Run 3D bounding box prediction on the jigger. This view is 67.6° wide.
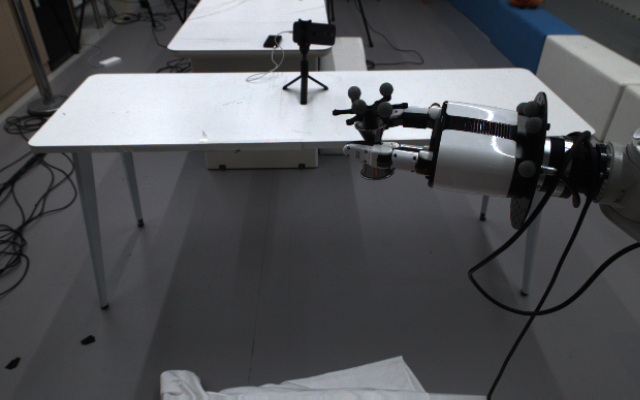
[{"bbox_3d":[0.069,-0.067,0.606,0.043,0.071,0.043,-9,31,5],"label":"jigger"}]
